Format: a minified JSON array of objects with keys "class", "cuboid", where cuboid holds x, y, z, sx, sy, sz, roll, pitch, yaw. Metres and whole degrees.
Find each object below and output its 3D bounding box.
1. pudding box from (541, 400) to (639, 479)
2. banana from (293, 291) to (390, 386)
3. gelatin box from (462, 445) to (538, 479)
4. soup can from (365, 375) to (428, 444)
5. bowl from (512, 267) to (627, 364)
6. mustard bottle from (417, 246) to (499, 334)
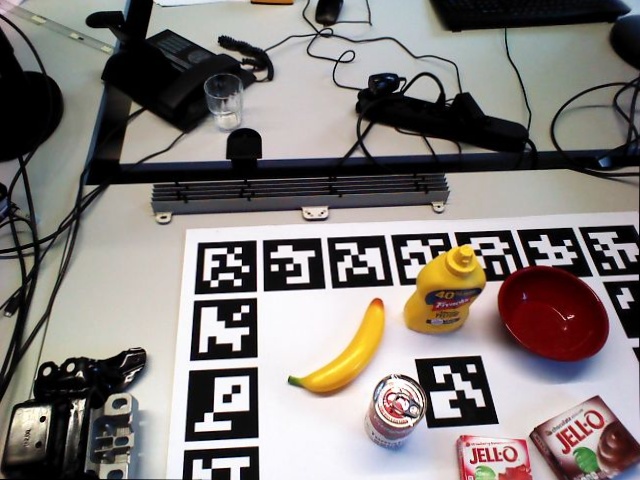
[{"class":"pudding box","cuboid":[0.366,0.278,0.679,0.113,0.039,0.090,-21,63,-15]},{"class":"banana","cuboid":[0.050,0.150,0.765,0.074,0.039,0.196,30,59,30]},{"class":"gelatin box","cuboid":[0.231,0.306,0.663,0.089,0.030,0.073,4,58,3]},{"class":"soup can","cuboid":[0.096,0.217,0.669,0.068,0.102,0.067,2,53,-2]},{"class":"bowl","cuboid":[0.367,0.121,0.783,0.162,0.055,0.160,-1,54,0]},{"class":"mustard bottle","cuboid":[0.197,0.063,0.721,0.096,0.192,0.058,-1,52,-2]}]
